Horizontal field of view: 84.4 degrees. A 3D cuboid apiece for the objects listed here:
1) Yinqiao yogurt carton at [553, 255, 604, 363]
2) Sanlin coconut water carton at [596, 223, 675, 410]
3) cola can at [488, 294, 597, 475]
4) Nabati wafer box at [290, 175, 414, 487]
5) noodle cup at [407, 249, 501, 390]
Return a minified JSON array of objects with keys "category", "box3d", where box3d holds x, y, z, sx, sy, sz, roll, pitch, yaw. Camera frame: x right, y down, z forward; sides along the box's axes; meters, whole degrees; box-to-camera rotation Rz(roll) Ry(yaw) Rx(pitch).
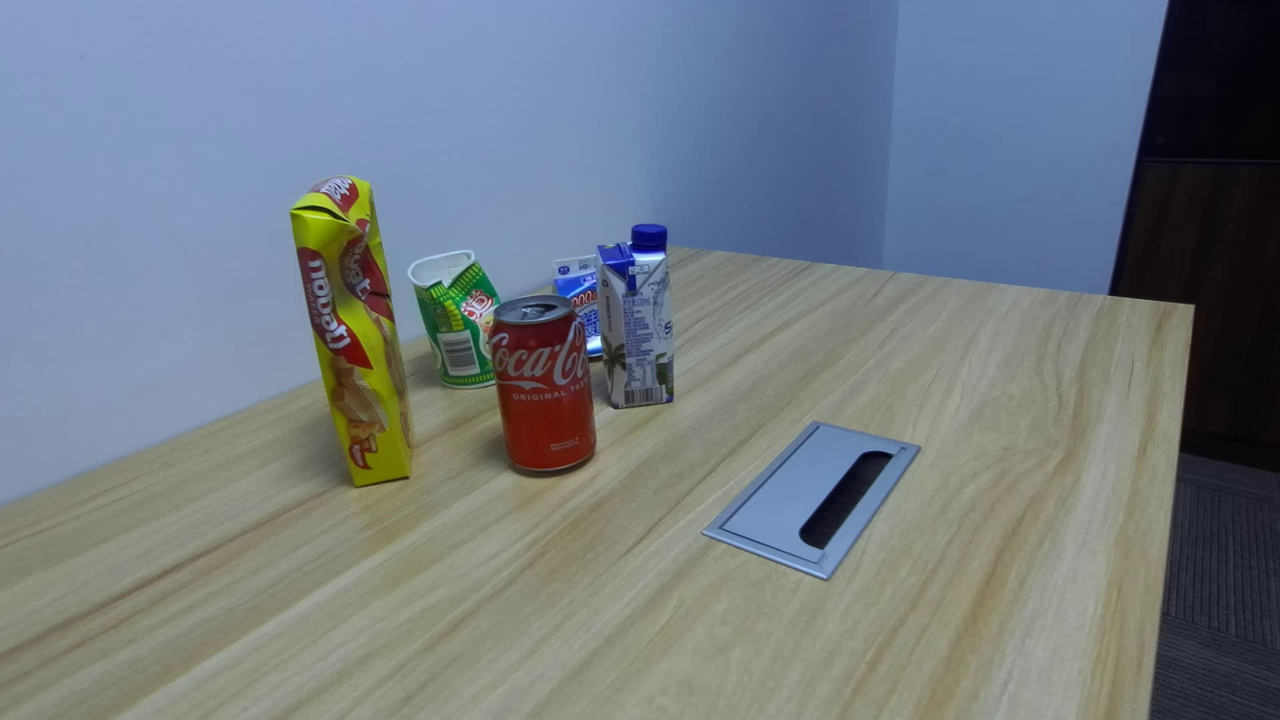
[{"category":"Yinqiao yogurt carton","box3d":[-0.047,-0.055,0.689,0.077,0.094,0.071,-9,21,-13]},{"category":"Sanlin coconut water carton","box3d":[-0.003,-0.036,0.576,0.061,0.144,0.060,-8,25,-6]},{"category":"cola can","box3d":[-0.067,0.016,0.501,0.068,0.120,0.068,-3,22,2]},{"category":"Nabati wafer box","box3d":[-0.197,-0.019,0.497,0.042,0.204,0.106,-7,24,-11]},{"category":"noodle cup","box3d":[-0.162,-0.039,0.656,0.075,0.122,0.083,11,37,45]}]
